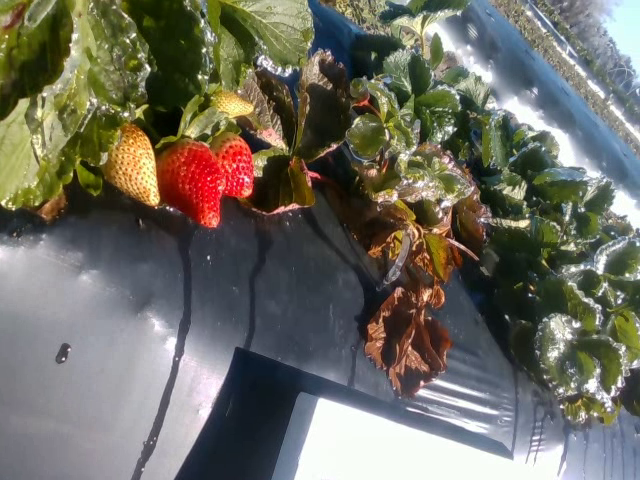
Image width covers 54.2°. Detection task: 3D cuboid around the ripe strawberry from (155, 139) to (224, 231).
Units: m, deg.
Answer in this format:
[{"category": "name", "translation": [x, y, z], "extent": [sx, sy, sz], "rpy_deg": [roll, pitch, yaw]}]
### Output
[{"category": "ripe strawberry", "translation": [-0.063, -0.024, 0.316], "extent": [0.036, 0.052, 0.040], "rpy_deg": [-20, -24, -39]}]

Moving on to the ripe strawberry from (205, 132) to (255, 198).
[{"category": "ripe strawberry", "translation": [-0.050, -0.041, 0.350], "extent": [0.030, 0.041, 0.036], "rpy_deg": [-6, 36, 53]}]
